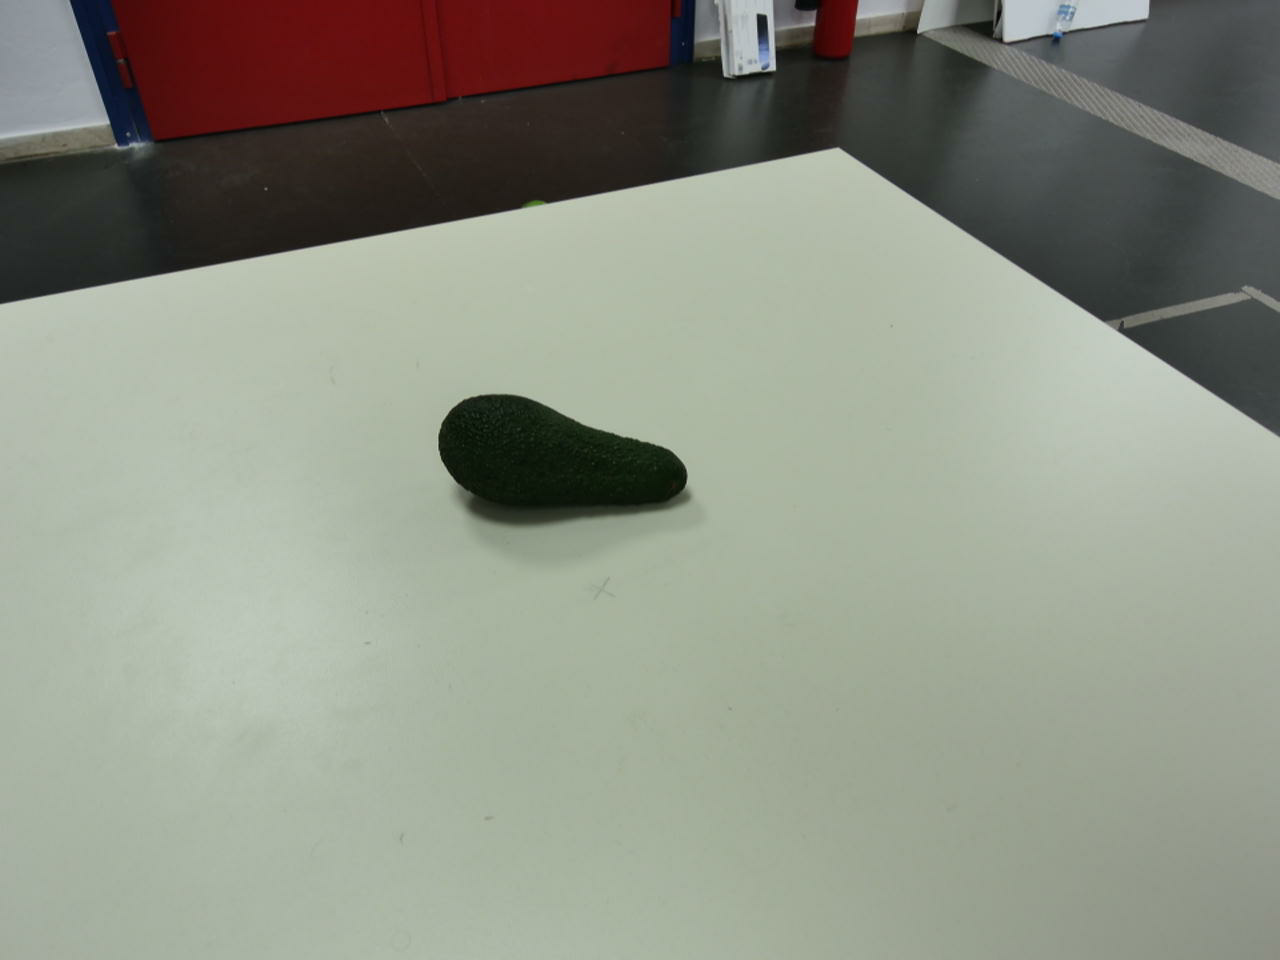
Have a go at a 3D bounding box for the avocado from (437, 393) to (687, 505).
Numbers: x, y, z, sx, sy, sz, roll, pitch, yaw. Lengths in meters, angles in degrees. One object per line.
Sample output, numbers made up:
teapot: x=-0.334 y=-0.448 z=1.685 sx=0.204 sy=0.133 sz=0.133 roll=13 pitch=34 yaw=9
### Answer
avocado: x=-0.044 y=-0.021 z=0.573 sx=0.141 sy=0.067 sz=0.063 roll=-5 pitch=39 yaw=-8
